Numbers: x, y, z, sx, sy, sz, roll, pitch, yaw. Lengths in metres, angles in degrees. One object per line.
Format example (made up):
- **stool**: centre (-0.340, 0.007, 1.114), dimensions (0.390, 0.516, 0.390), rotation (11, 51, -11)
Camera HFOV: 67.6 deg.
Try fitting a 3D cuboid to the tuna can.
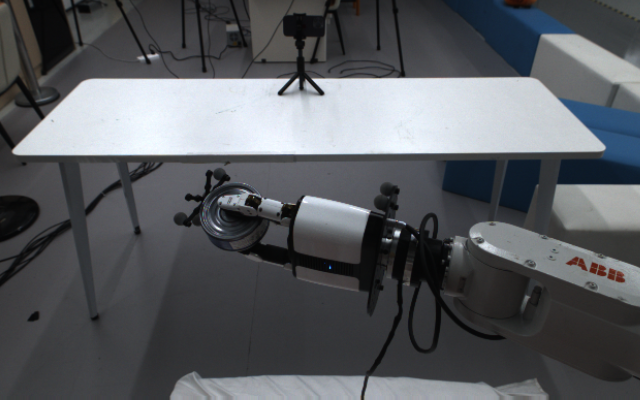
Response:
- **tuna can**: centre (-0.106, 0.026, 0.619), dimensions (0.085, 0.034, 0.085), rotation (-1, 62, 1)
